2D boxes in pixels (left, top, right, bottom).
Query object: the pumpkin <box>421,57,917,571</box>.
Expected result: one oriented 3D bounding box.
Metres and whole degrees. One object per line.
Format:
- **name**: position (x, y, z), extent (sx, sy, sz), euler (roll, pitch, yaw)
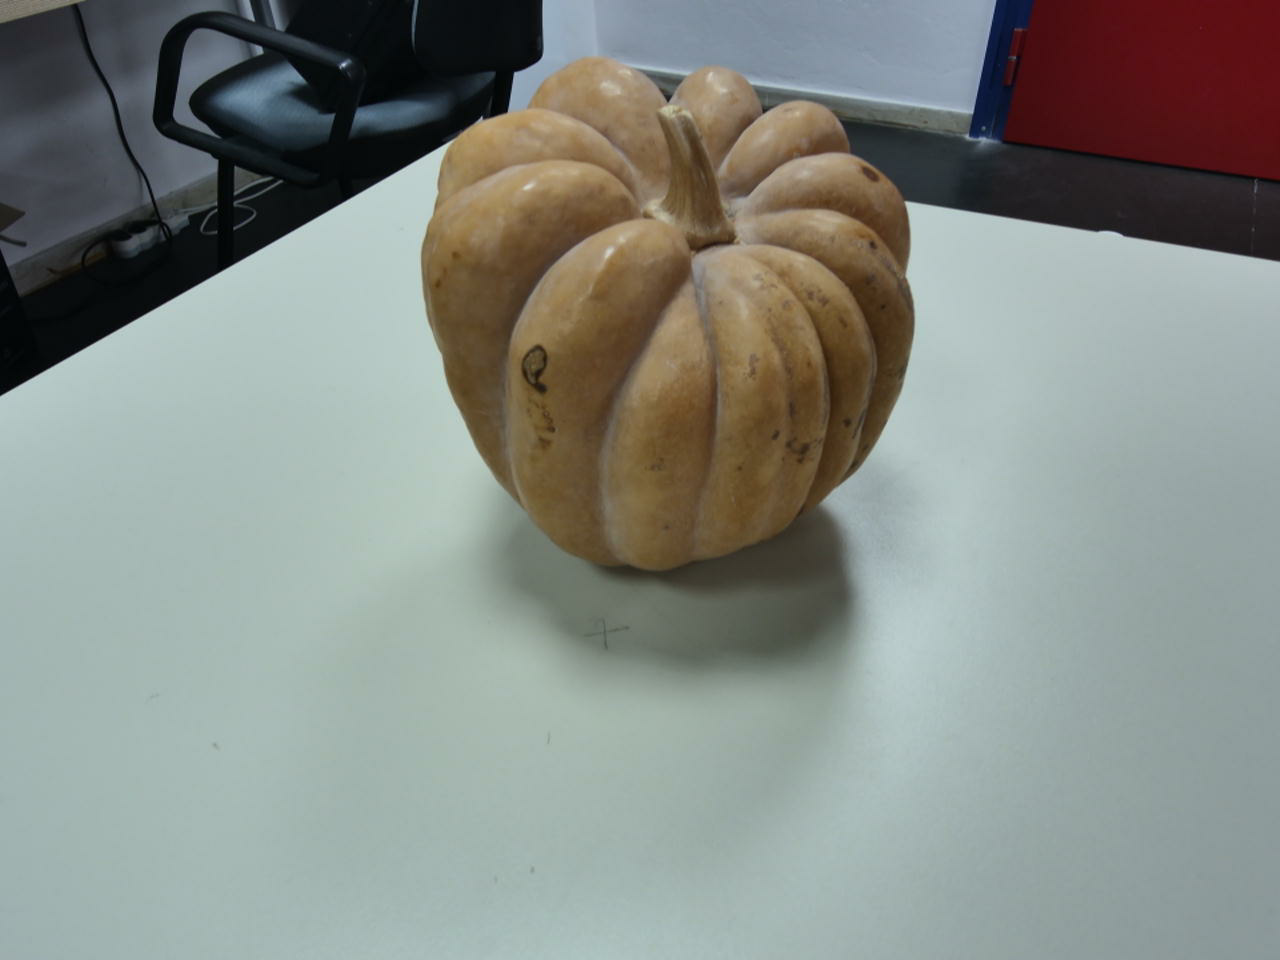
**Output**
- **pumpkin**: position (0.010, -0.063, 0.397), extent (0.199, 0.177, 0.198), euler (0, 38, 0)
